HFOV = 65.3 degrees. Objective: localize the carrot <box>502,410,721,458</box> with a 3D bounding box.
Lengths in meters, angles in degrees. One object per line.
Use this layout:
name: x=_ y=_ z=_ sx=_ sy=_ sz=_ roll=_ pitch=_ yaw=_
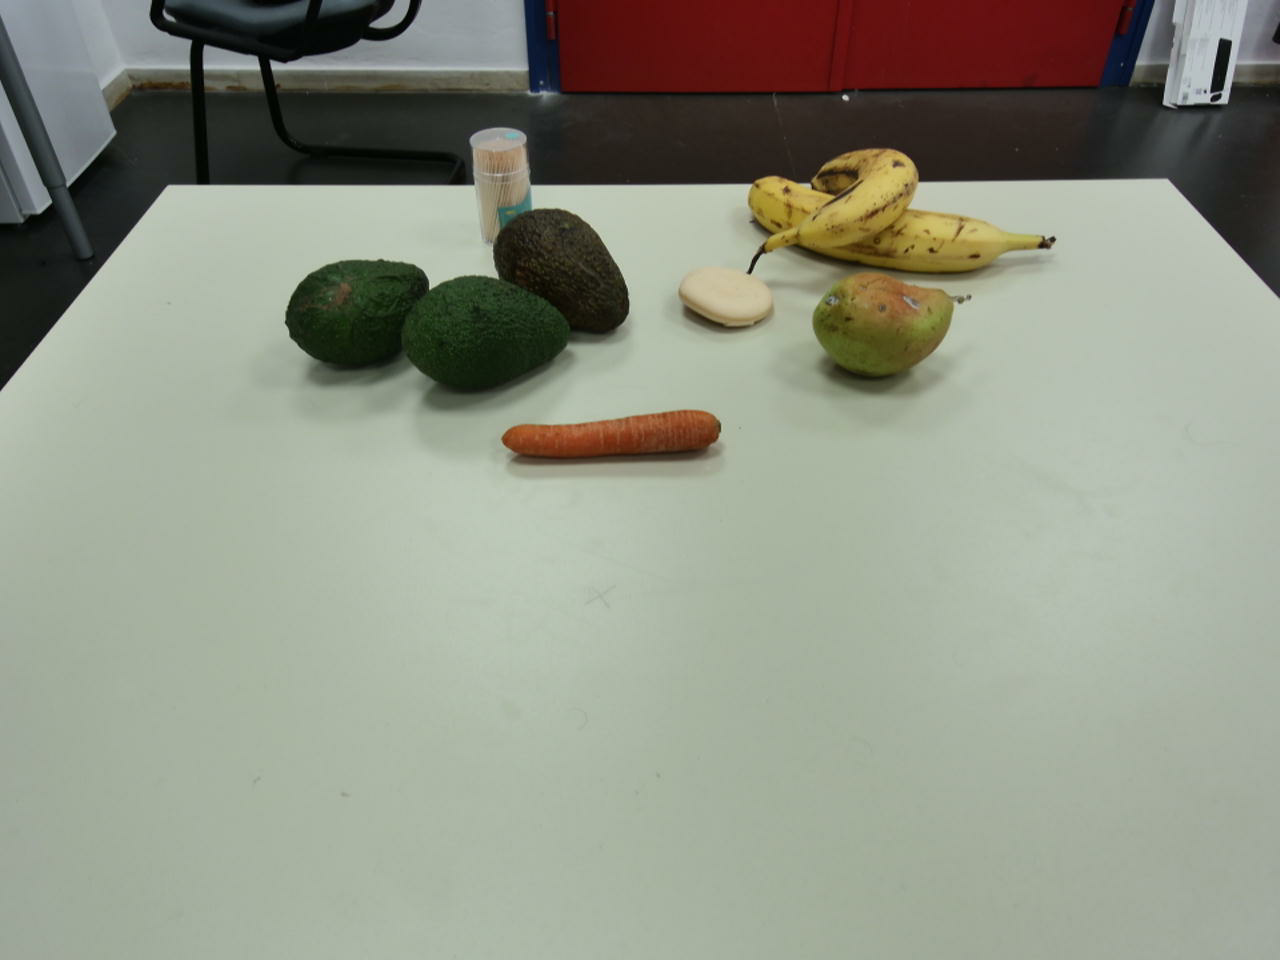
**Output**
carrot: x=-0.015 y=-0.026 z=0.557 sx=0.122 sy=0.023 sz=0.024 roll=-2 pitch=39 yaw=-2
